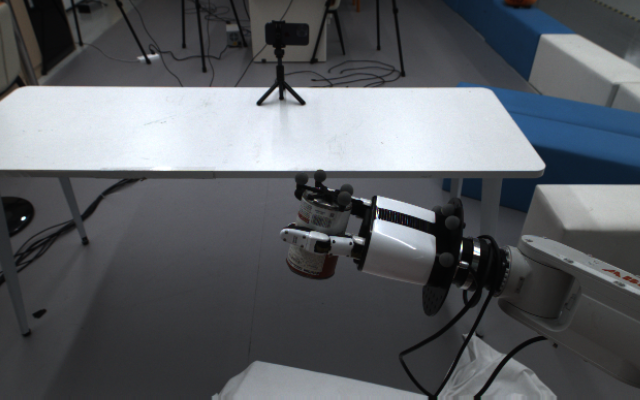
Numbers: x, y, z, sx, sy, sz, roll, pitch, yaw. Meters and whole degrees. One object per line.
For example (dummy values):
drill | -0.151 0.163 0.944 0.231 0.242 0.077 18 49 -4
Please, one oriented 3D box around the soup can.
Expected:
soup can | 0.000 0.044 0.635 0.067 0.101 0.067 13 18 -4
